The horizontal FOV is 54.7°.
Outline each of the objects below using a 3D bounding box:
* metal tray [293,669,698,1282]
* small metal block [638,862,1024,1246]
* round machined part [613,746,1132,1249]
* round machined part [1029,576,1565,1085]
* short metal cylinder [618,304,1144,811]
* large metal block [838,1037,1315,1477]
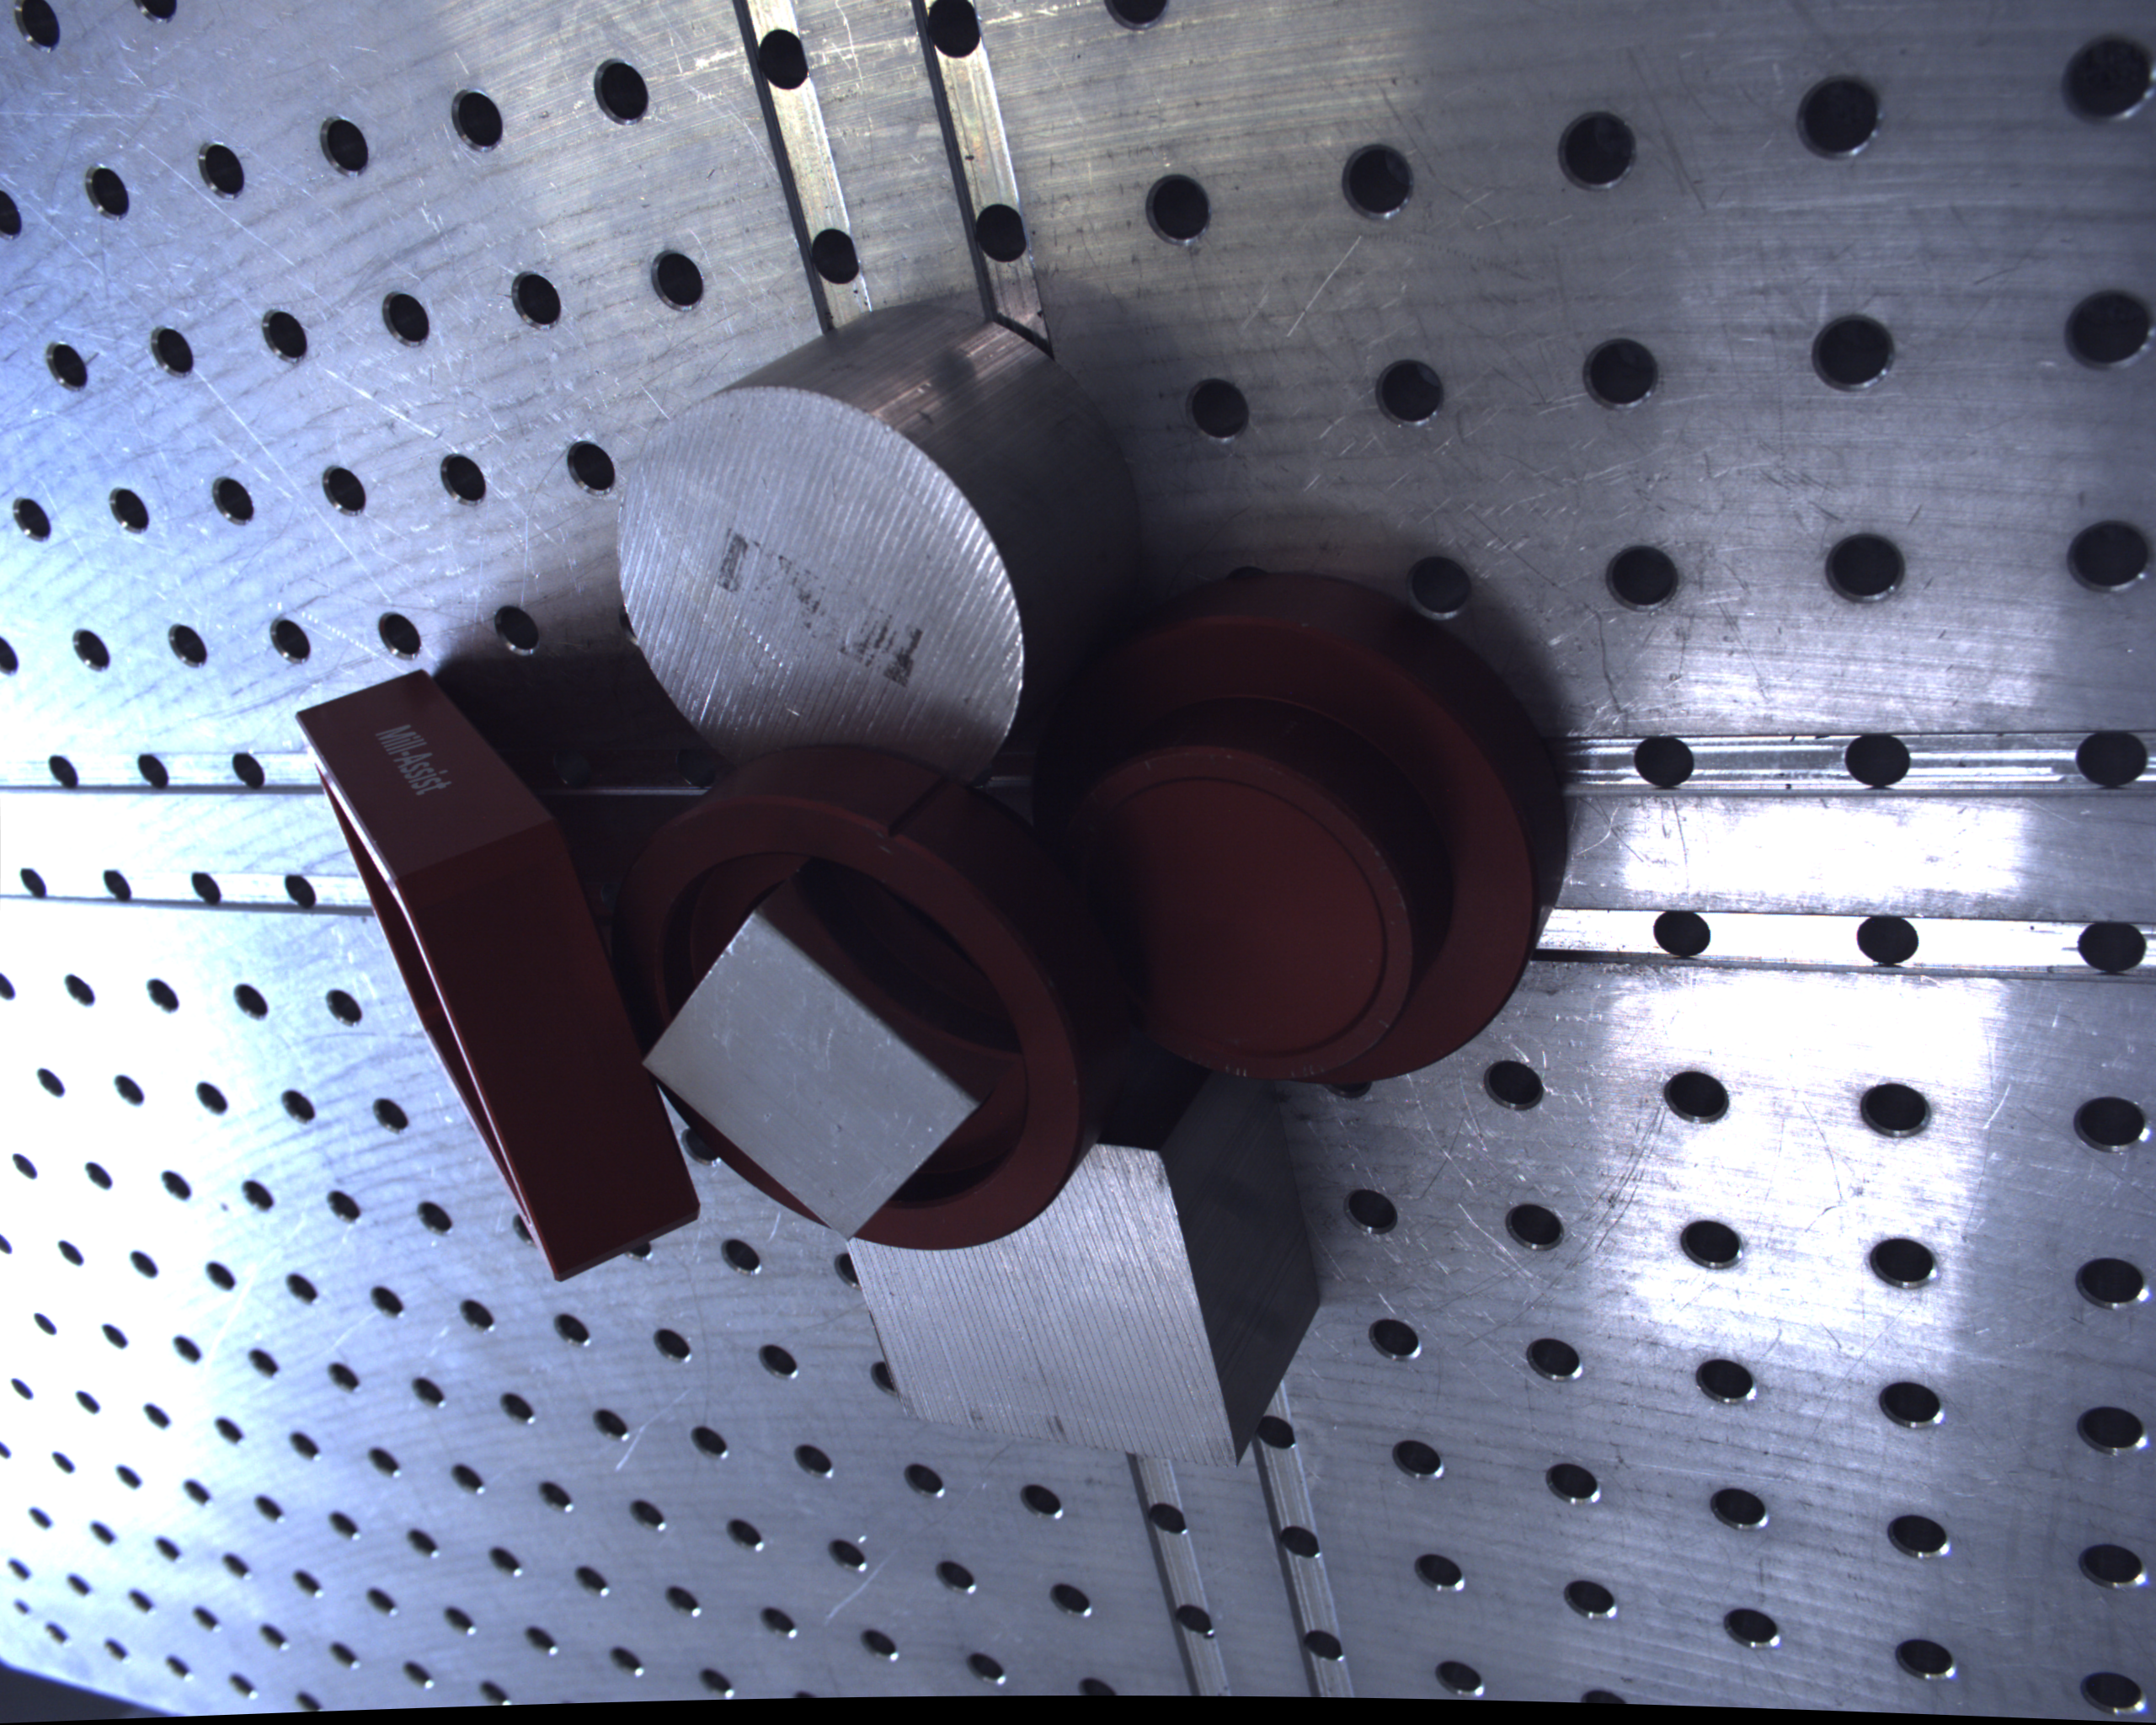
[{"bbox_3d":[-0.125,0.019,0.439,0.130,0.030,0.089,33,142,57],"label":"metal tray"},{"bbox_3d":[-0.043,0.033,0.375,0.050,0.025,0.050,41,129,0],"label":"small metal block"},{"bbox_3d":[-0.035,0.021,0.394,0.098,0.042,0.097,13,124,21],"label":"round machined part"},{"bbox_3d":[0.035,0.001,0.381,0.098,0.042,0.097,13,124,21],"label":"round machined part"},{"bbox_3d":[-0.035,-0.055,0.379,0.080,0.050,0.079,13,124,21],"label":"short metal cylinder"},{"bbox_3d":[-0.003,0.076,0.440,0.080,0.050,0.080,1,119,28],"label":"large metal block"}]
